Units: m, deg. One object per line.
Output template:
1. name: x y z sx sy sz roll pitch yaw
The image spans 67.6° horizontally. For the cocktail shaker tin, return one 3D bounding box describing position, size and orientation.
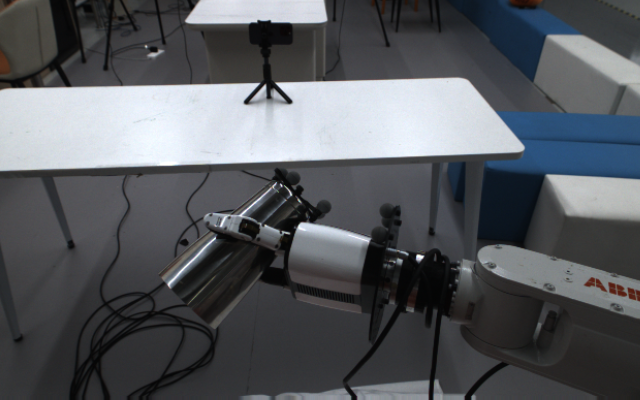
1. cocktail shaker tin: -0.094 0.053 0.575 0.170 0.093 0.093 -43 50 -14
